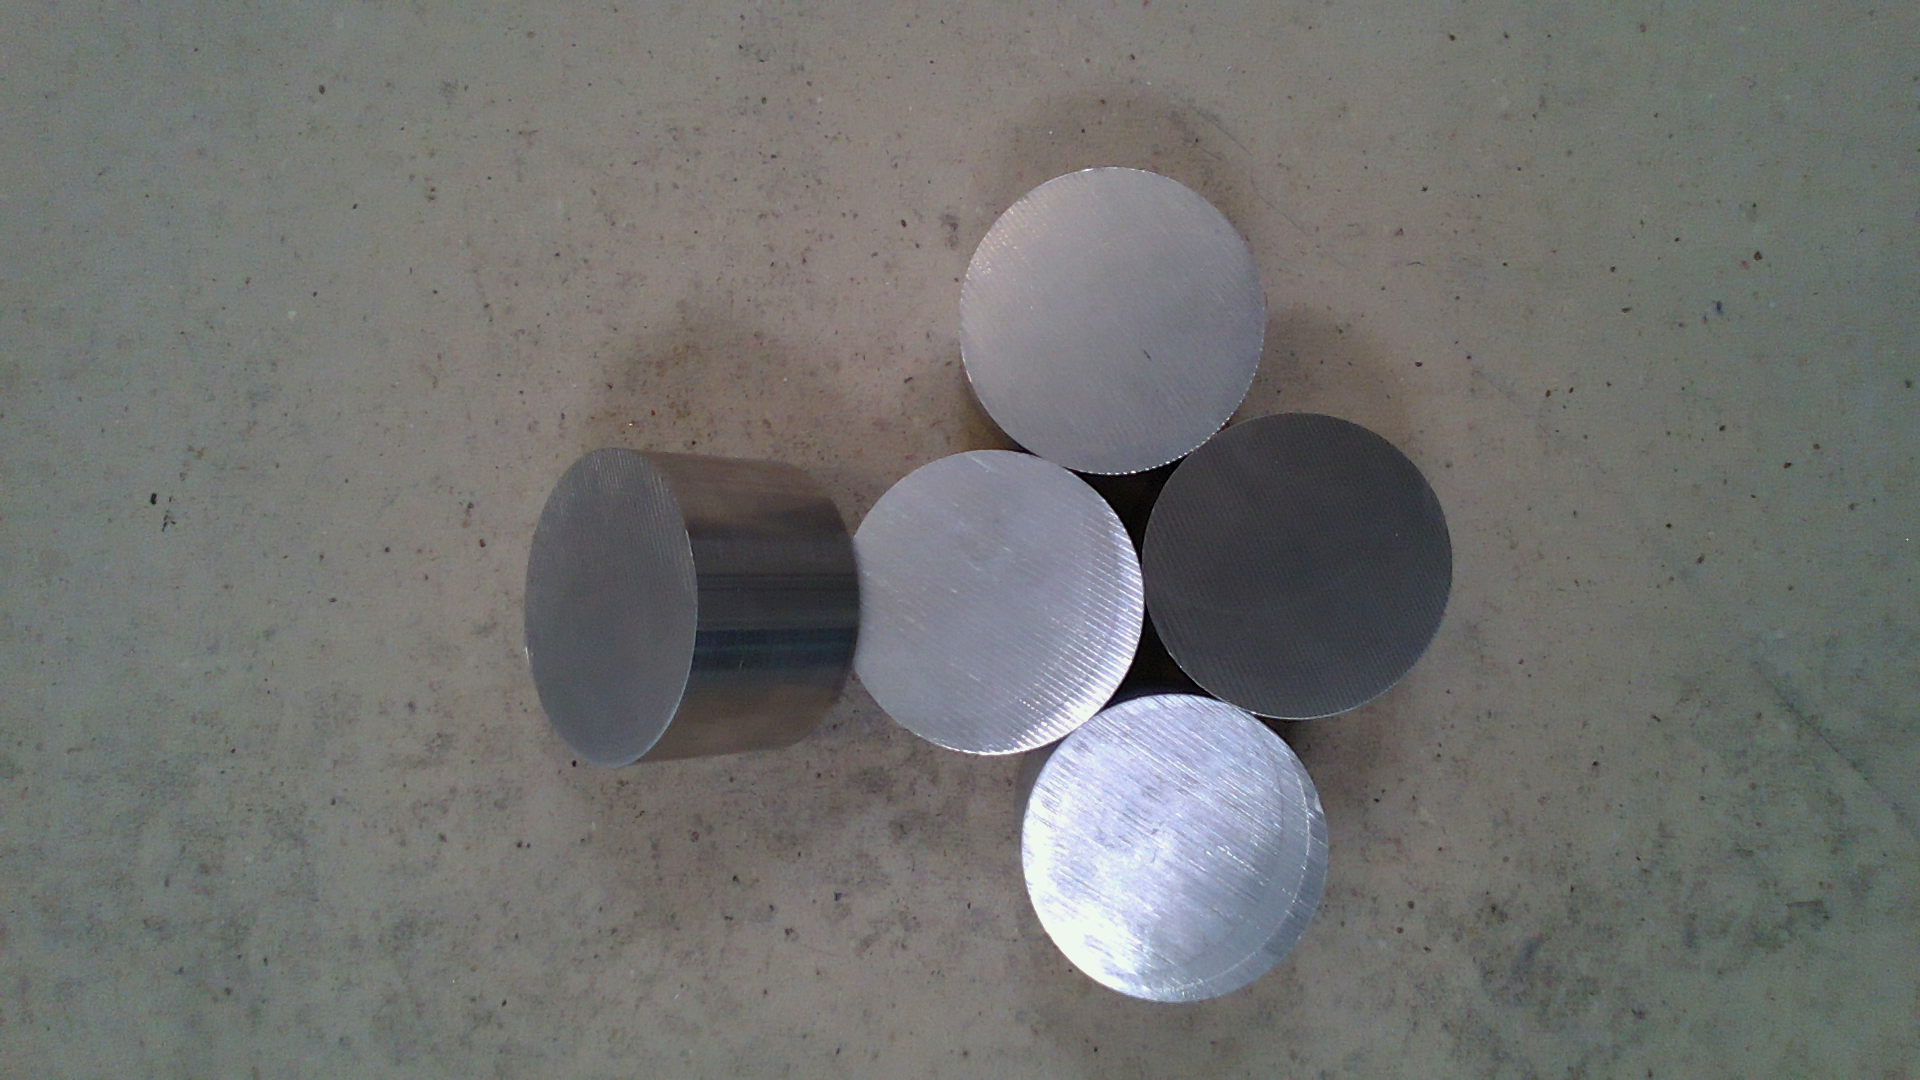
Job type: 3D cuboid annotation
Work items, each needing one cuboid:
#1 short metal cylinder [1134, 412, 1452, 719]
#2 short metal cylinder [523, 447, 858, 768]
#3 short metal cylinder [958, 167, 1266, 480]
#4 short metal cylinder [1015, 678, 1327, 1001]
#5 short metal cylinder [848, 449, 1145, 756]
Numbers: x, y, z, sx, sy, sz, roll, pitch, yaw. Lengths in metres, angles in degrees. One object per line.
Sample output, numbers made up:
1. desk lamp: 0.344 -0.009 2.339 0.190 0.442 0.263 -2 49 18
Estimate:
1. short metal cylinder: 0.088 0.006 0.383 0.080 0.050 0.080 0 90 0
2. short metal cylinder: -0.072 0.017 0.362 0.080 0.050 0.080 -1 88 44
3. short metal cylinder: 0.040 -0.057 0.383 0.080 0.050 0.080 0 90 0
4. short metal cylinder: 0.056 0.080 0.383 0.080 0.050 0.080 0 90 0
5. short metal cylinder: 0.008 0.016 0.383 0.080 0.050 0.080 0 90 0
